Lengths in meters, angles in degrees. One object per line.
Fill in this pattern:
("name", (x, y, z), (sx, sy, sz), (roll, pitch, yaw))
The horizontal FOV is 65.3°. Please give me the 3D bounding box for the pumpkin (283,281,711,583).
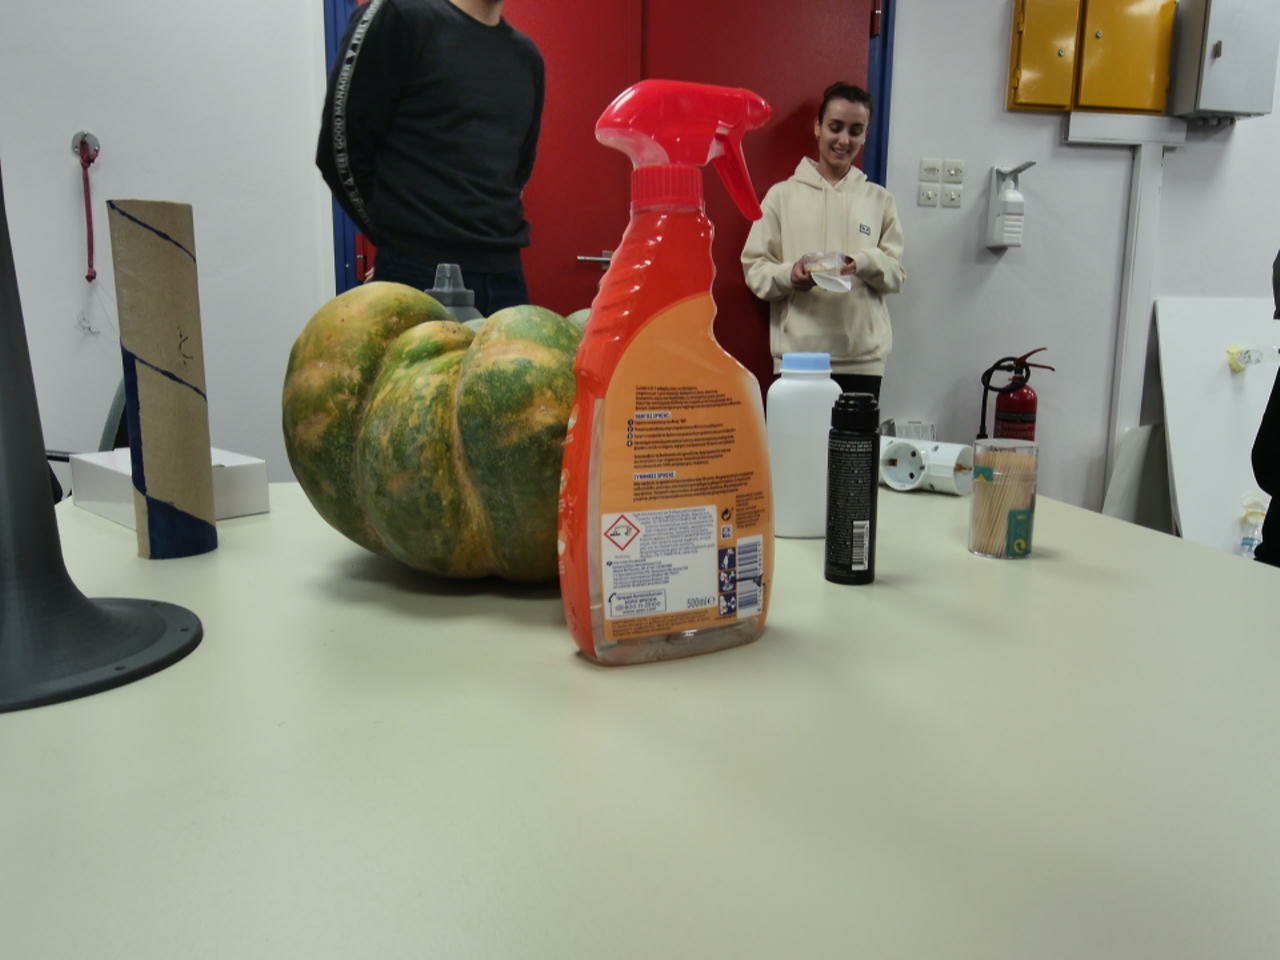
("pumpkin", (-0.085, -0.031, 0.618), (0.270, 0.173, 0.237), (4, 9, 24))
